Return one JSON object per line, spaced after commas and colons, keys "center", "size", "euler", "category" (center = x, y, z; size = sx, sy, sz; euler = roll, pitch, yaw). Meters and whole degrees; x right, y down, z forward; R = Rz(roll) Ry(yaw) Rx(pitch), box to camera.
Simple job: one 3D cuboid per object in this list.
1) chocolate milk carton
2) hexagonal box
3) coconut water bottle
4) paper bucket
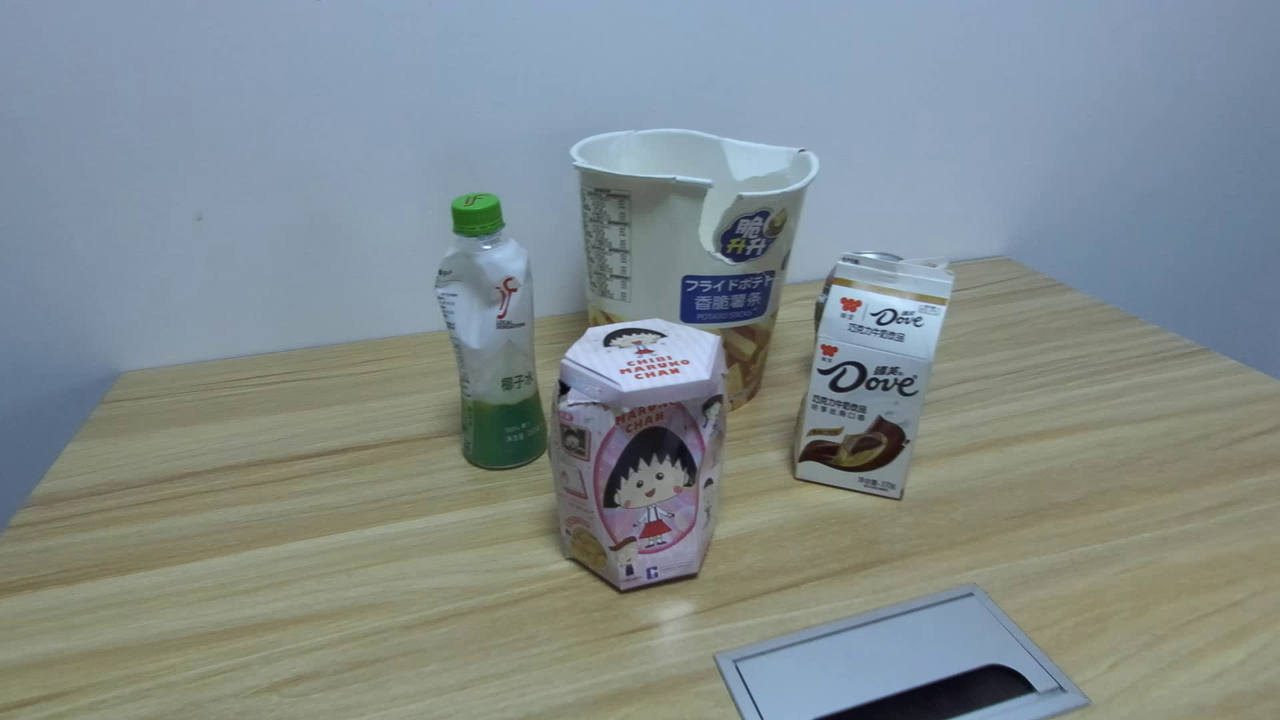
{"center": [0.150, 0.005, 0.472], "size": [0.084, 0.155, 0.073], "euler": [9, 30, 16], "category": "chocolate milk carton"}
{"center": [-0.001, 0.053, 0.409], "size": [0.091, 0.134, 0.090], "euler": [11, 28, 22], "category": "hexagonal box"}
{"center": [-0.100, -0.018, 0.486], "size": [0.069, 0.187, 0.069], "euler": [1, 27, 0], "category": "coconut water bottle"}
{"center": [0.035, -0.071, 0.567], "size": [0.202, 0.197, 0.146], "euler": [17, 34, 30], "category": "paper bucket"}
